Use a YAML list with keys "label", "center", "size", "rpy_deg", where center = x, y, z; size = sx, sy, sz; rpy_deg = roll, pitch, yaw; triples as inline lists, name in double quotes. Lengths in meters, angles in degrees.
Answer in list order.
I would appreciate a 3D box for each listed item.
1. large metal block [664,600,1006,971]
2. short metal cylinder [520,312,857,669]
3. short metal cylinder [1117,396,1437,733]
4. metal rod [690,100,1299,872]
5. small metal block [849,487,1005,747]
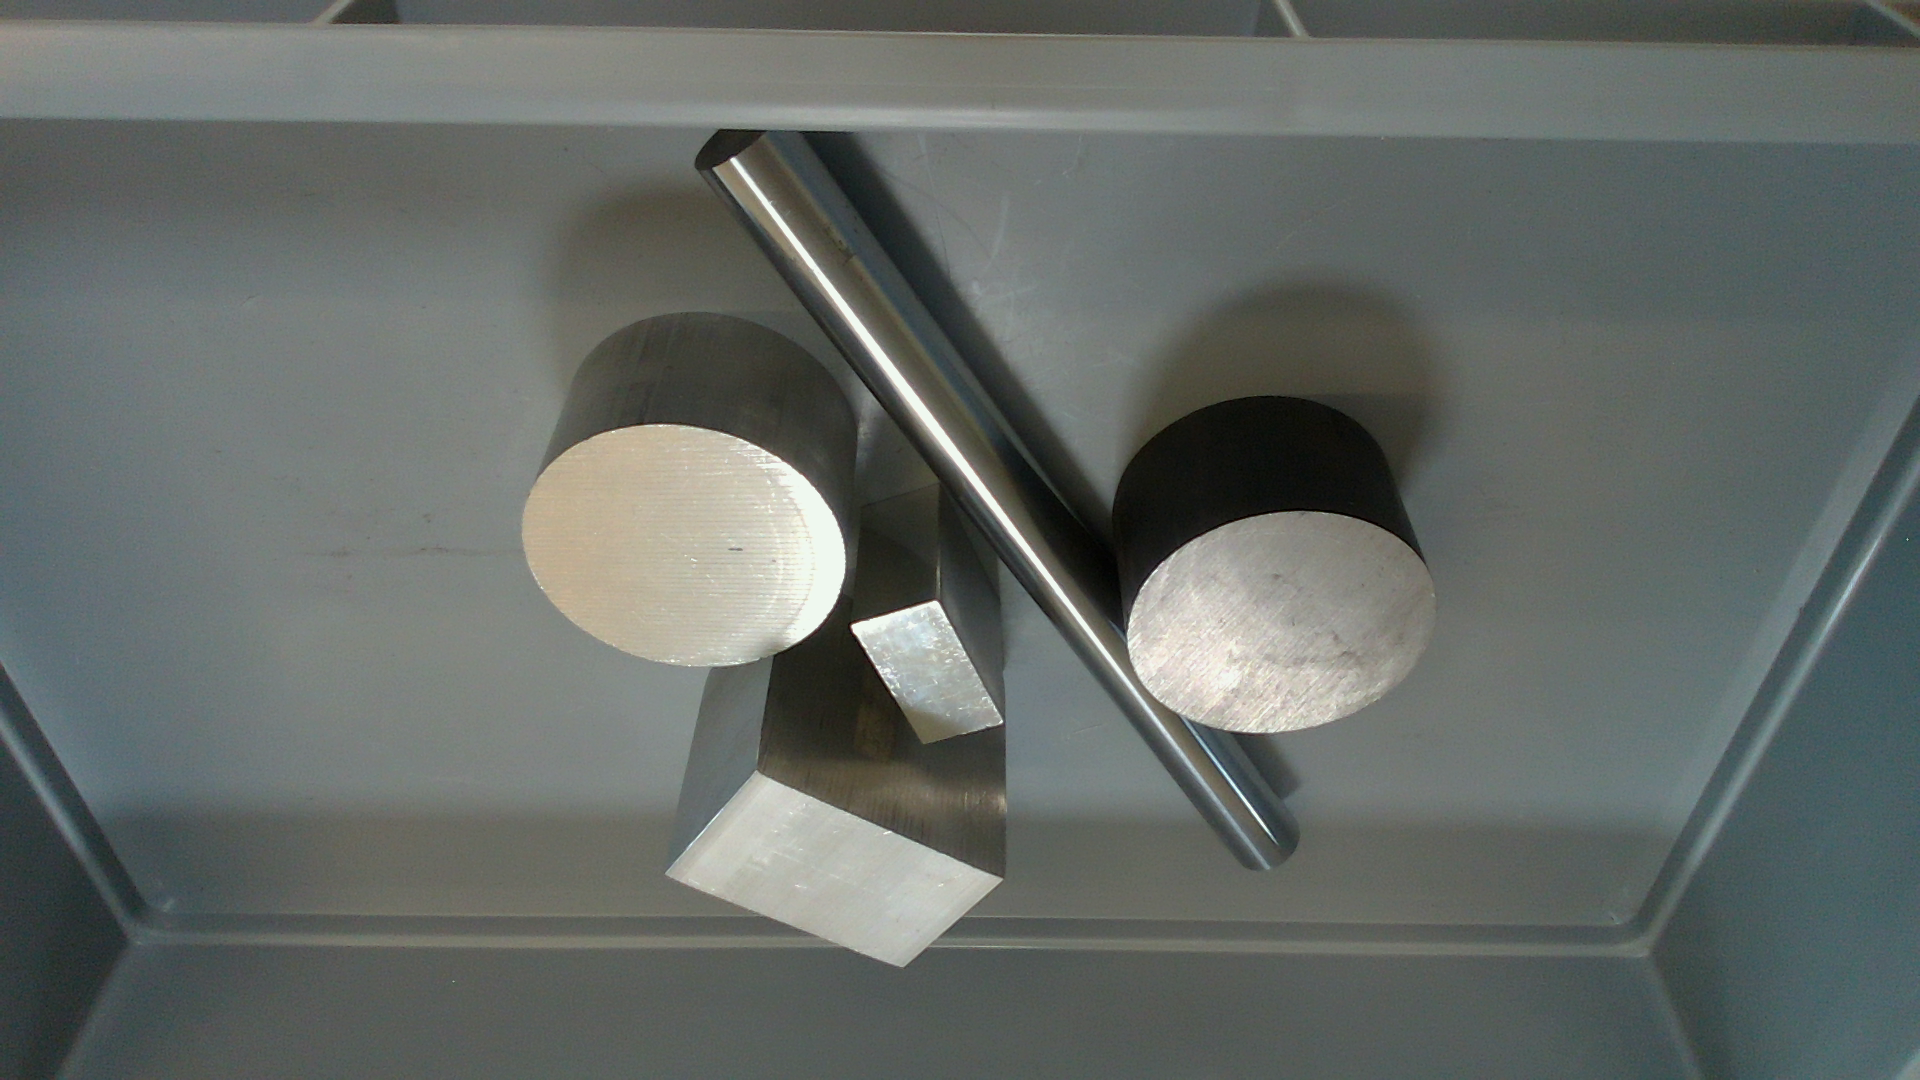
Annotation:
- label: "large metal block"
  center: [-0.034, 0.069, 0.410]
  size: [0.080, 0.080, 0.050]
  rpy_deg: [28, 126, -21]
- label: "short metal cylinder"
  center: [-0.069, -0.012, 0.362]
  size: [0.080, 0.050, 0.080]
  rpy_deg: [0, 130, 0]
- label: "short metal cylinder"
  center: [0.084, 0.008, 0.379]
  size: [0.080, 0.050, 0.080]
  rpy_deg: [0, 130, 0]
- label: "metal rod"
  center: [0.027, 0.006, 0.394]
  size: [0.025, 0.025, 0.301]
  rpy_deg: [-25, 126, 20]
- label: "small metal block"
  center: [-0.008, 0.021, 0.390]
  size: [0.025, 0.050, 0.050]
  rpy_deg: [-17, 128, 14]
